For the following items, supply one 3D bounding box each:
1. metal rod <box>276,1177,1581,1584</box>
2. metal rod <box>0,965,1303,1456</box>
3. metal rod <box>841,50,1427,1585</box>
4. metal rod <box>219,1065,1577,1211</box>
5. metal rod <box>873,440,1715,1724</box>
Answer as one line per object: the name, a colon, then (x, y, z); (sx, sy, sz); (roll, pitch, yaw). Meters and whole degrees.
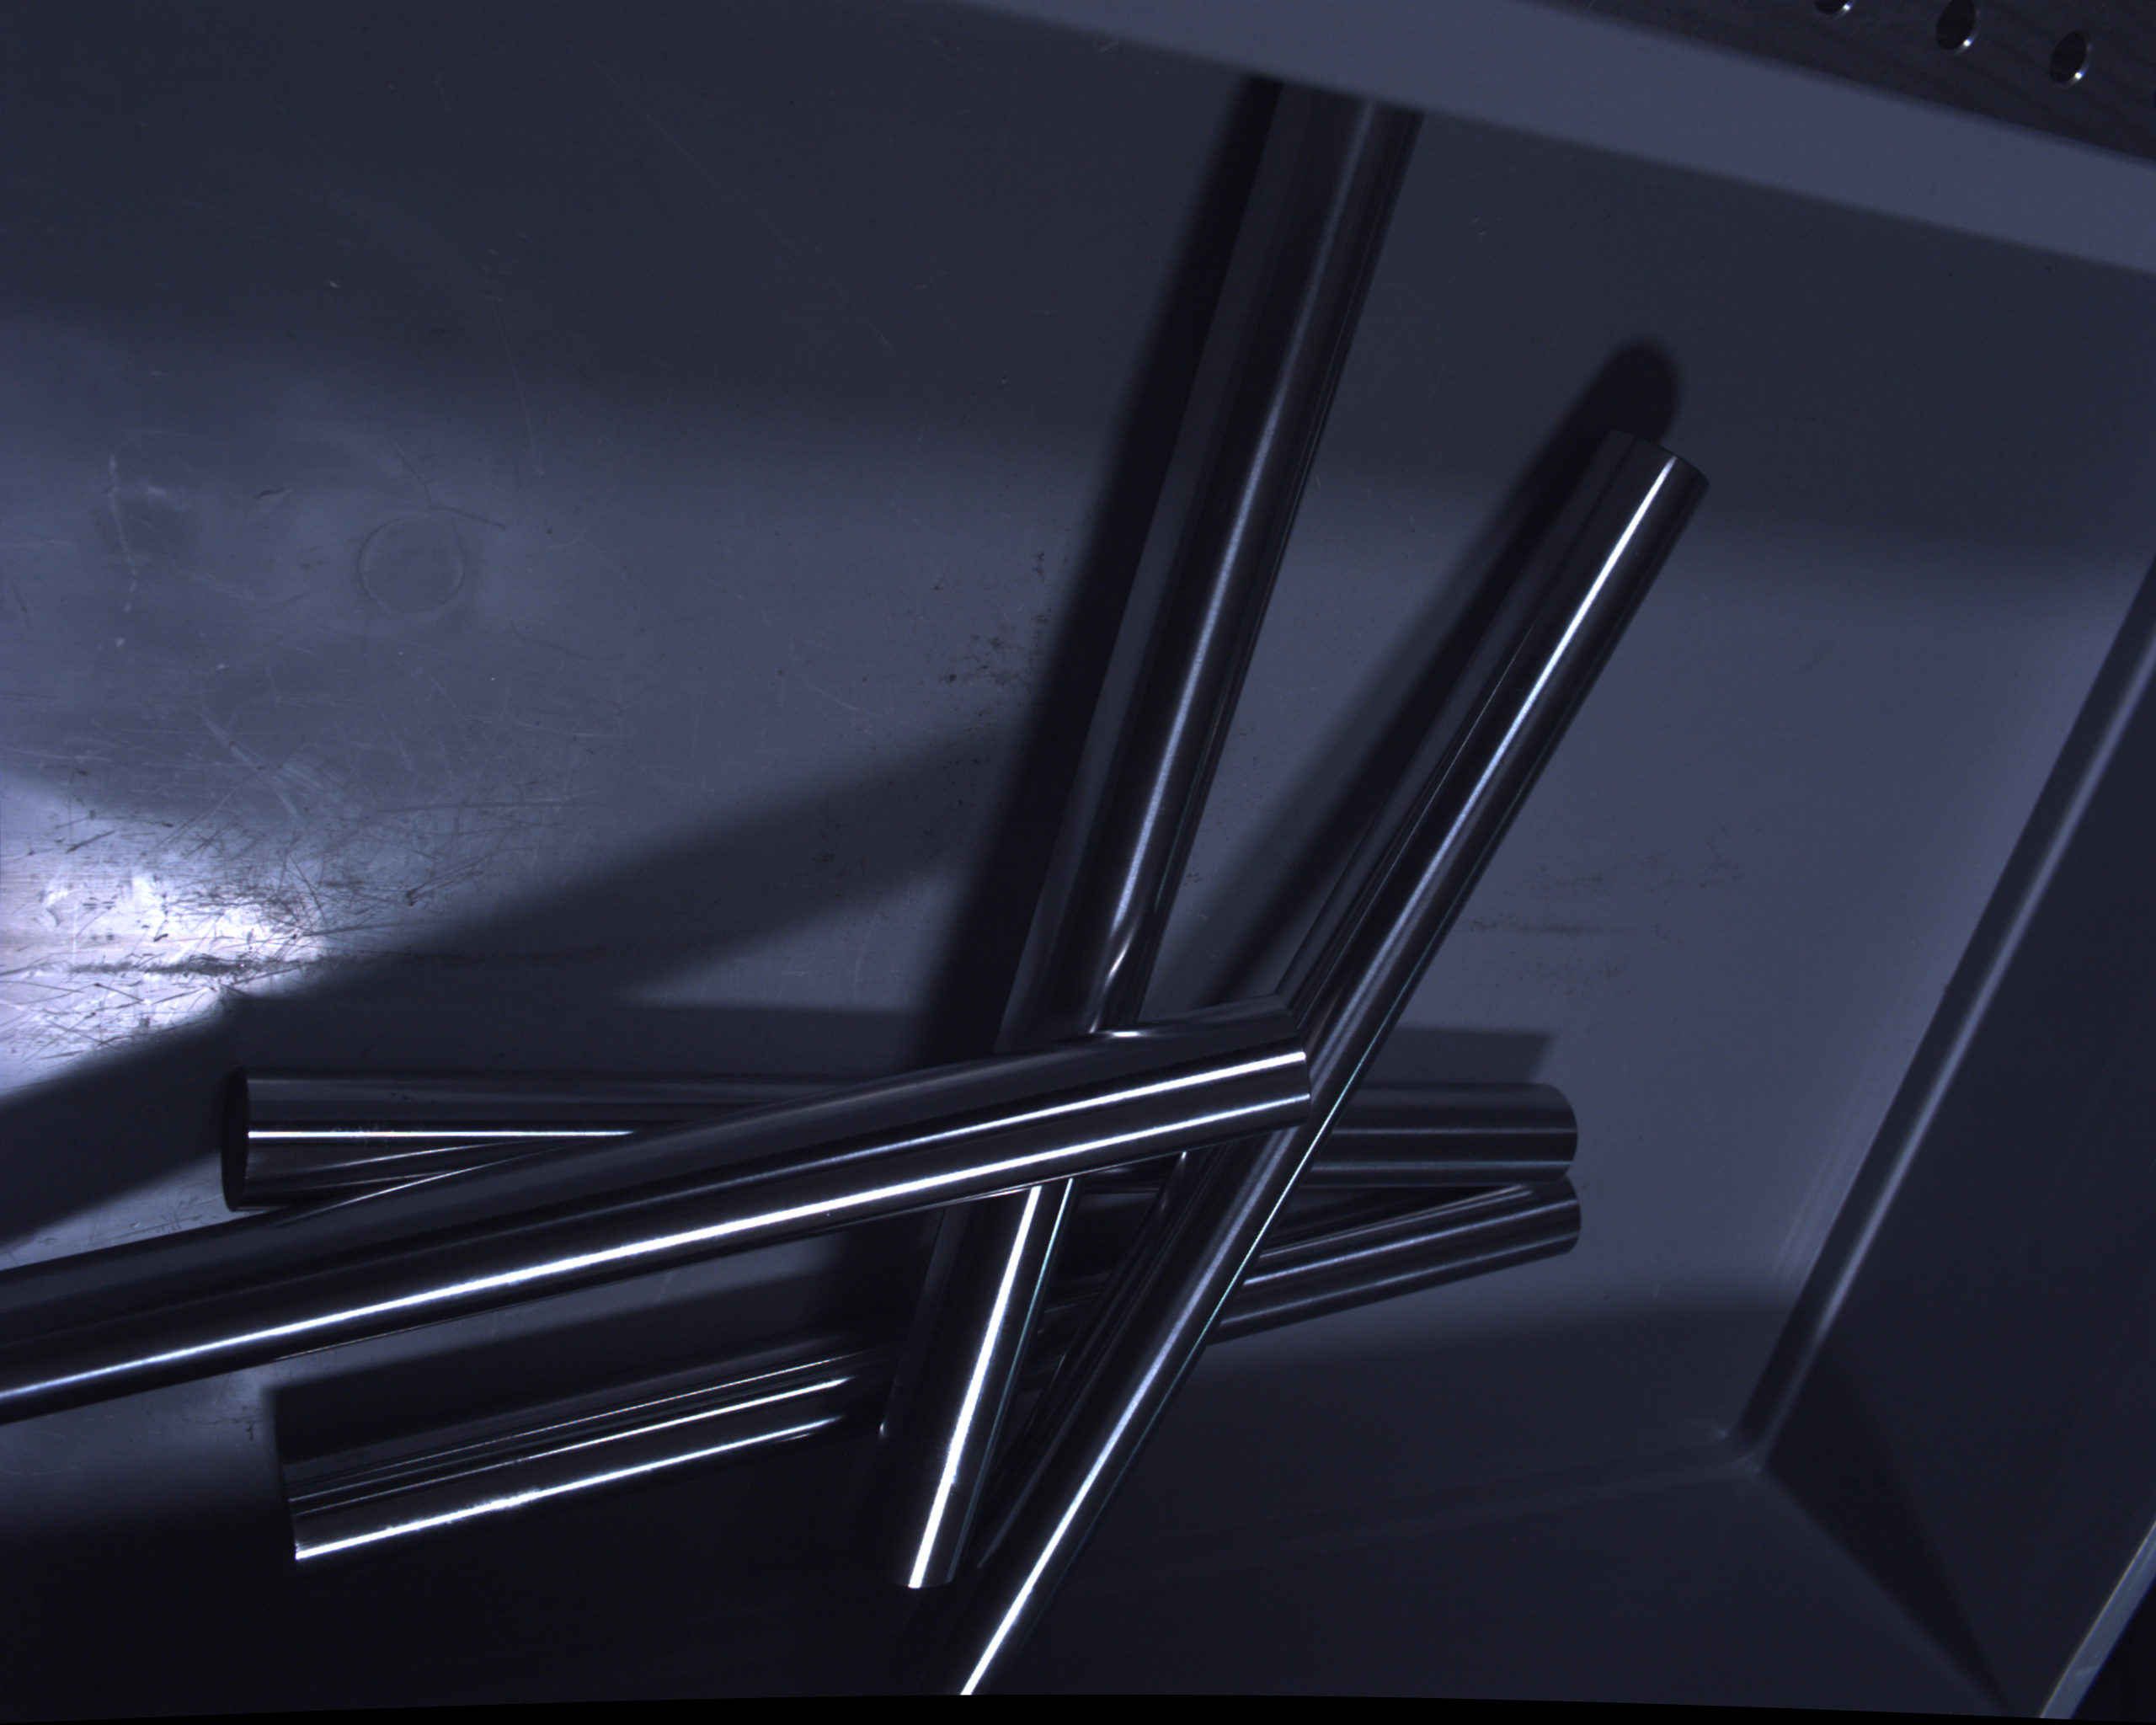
metal rod: (-0.017, 0.107, 0.465); (0.303, 0.025, 0.025); (-8, 122, -25)
metal rod: (-0.104, 0.066, 0.359); (0.302, 0.025, 0.025); (-14, 125, -15)
metal rod: (0.005, 0.004, 0.391); (0.025, 0.025, 0.298); (7, 109, -32)
metal rod: (-0.016, 0.057, 0.435); (0.302, 0.025, 0.025); (4, 116, -31)
metal rod: (0.043, 0.049, 0.436); (0.025, 0.025, 0.299); (27, 95, -38)
